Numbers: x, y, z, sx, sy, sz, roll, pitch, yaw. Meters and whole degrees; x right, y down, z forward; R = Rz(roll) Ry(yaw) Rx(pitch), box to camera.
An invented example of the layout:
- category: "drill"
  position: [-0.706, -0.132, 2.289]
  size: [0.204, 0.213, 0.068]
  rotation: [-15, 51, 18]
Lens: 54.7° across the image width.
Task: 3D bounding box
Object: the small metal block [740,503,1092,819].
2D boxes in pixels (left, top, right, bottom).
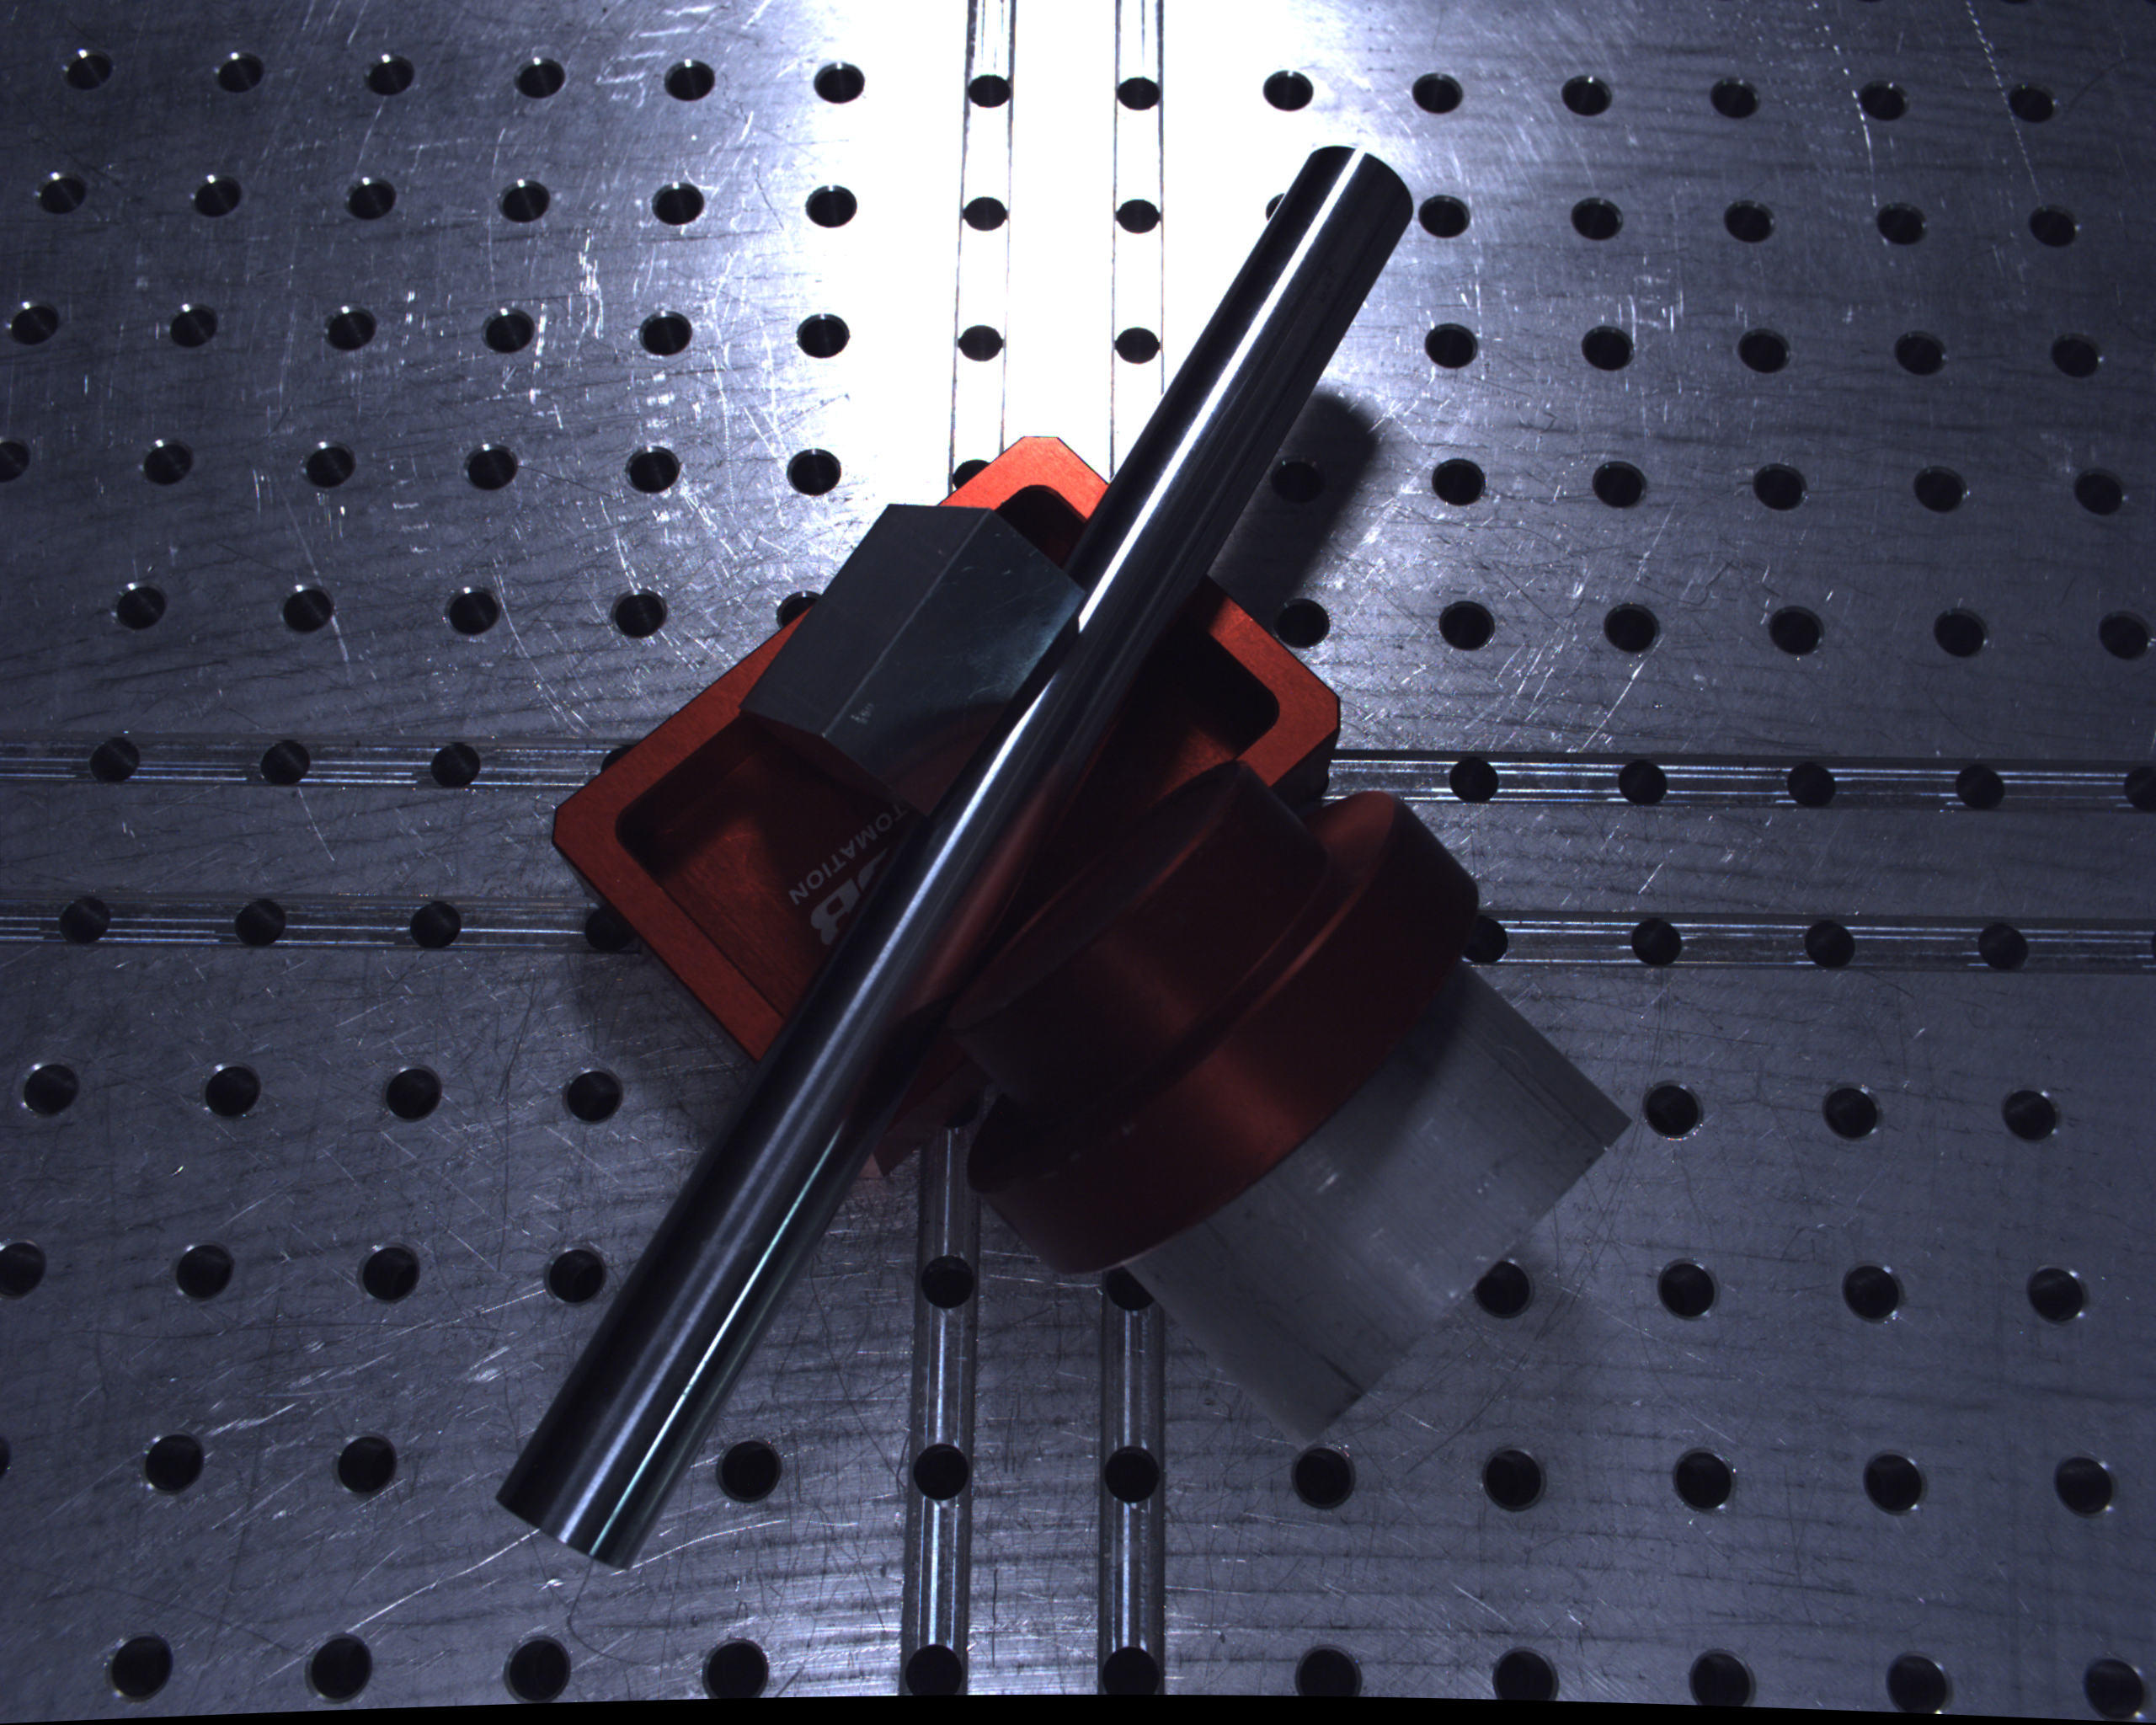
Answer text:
- category: "small metal block"
  position: [-0.031, -0.039, 0.389]
  size: [0.025, 0.050, 0.050]
  rotation: [39, 82, -27]

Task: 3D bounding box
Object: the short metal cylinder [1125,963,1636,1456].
- category: "short metal cylinder"
  position: [0.049, 0.056, 0.361]
  size: [0.080, 0.080, 0.050]
  rotation: [-42, 76, -14]

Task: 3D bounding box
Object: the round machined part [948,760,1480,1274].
- category: "round machined part"
  position: [0.017, 0.020, 0.355]
  size: [0.098, 0.098, 0.042]
  rotation: [-44, 98, -15]

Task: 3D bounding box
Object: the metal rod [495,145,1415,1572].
- category: "metal rod"
  position: [-0.013, -0.015, 0.385]
  size: [0.025, 0.025, 0.300]
  rotation: [27, 72, 9]

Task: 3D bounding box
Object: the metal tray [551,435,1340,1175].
- category: "metal tray"
  position: [-0.024, -0.013, 0.413]
  size: [0.130, 0.030, 0.090]
  rotation: [-41, 76, -14]
